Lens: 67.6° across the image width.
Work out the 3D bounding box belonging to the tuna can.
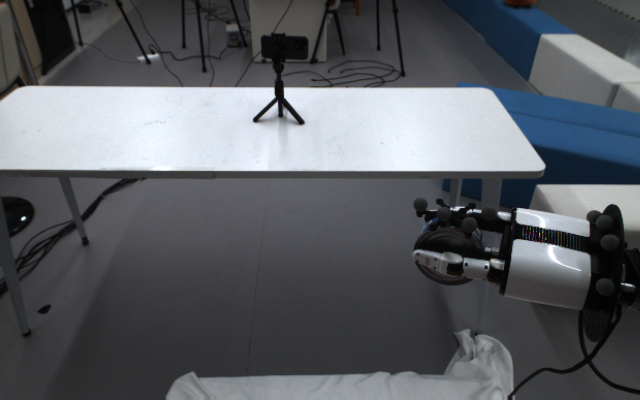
[{"bbox_3d":[0.165,0.059,0.608,0.085,0.085,0.034,13,29,15],"label":"tuna can"}]
